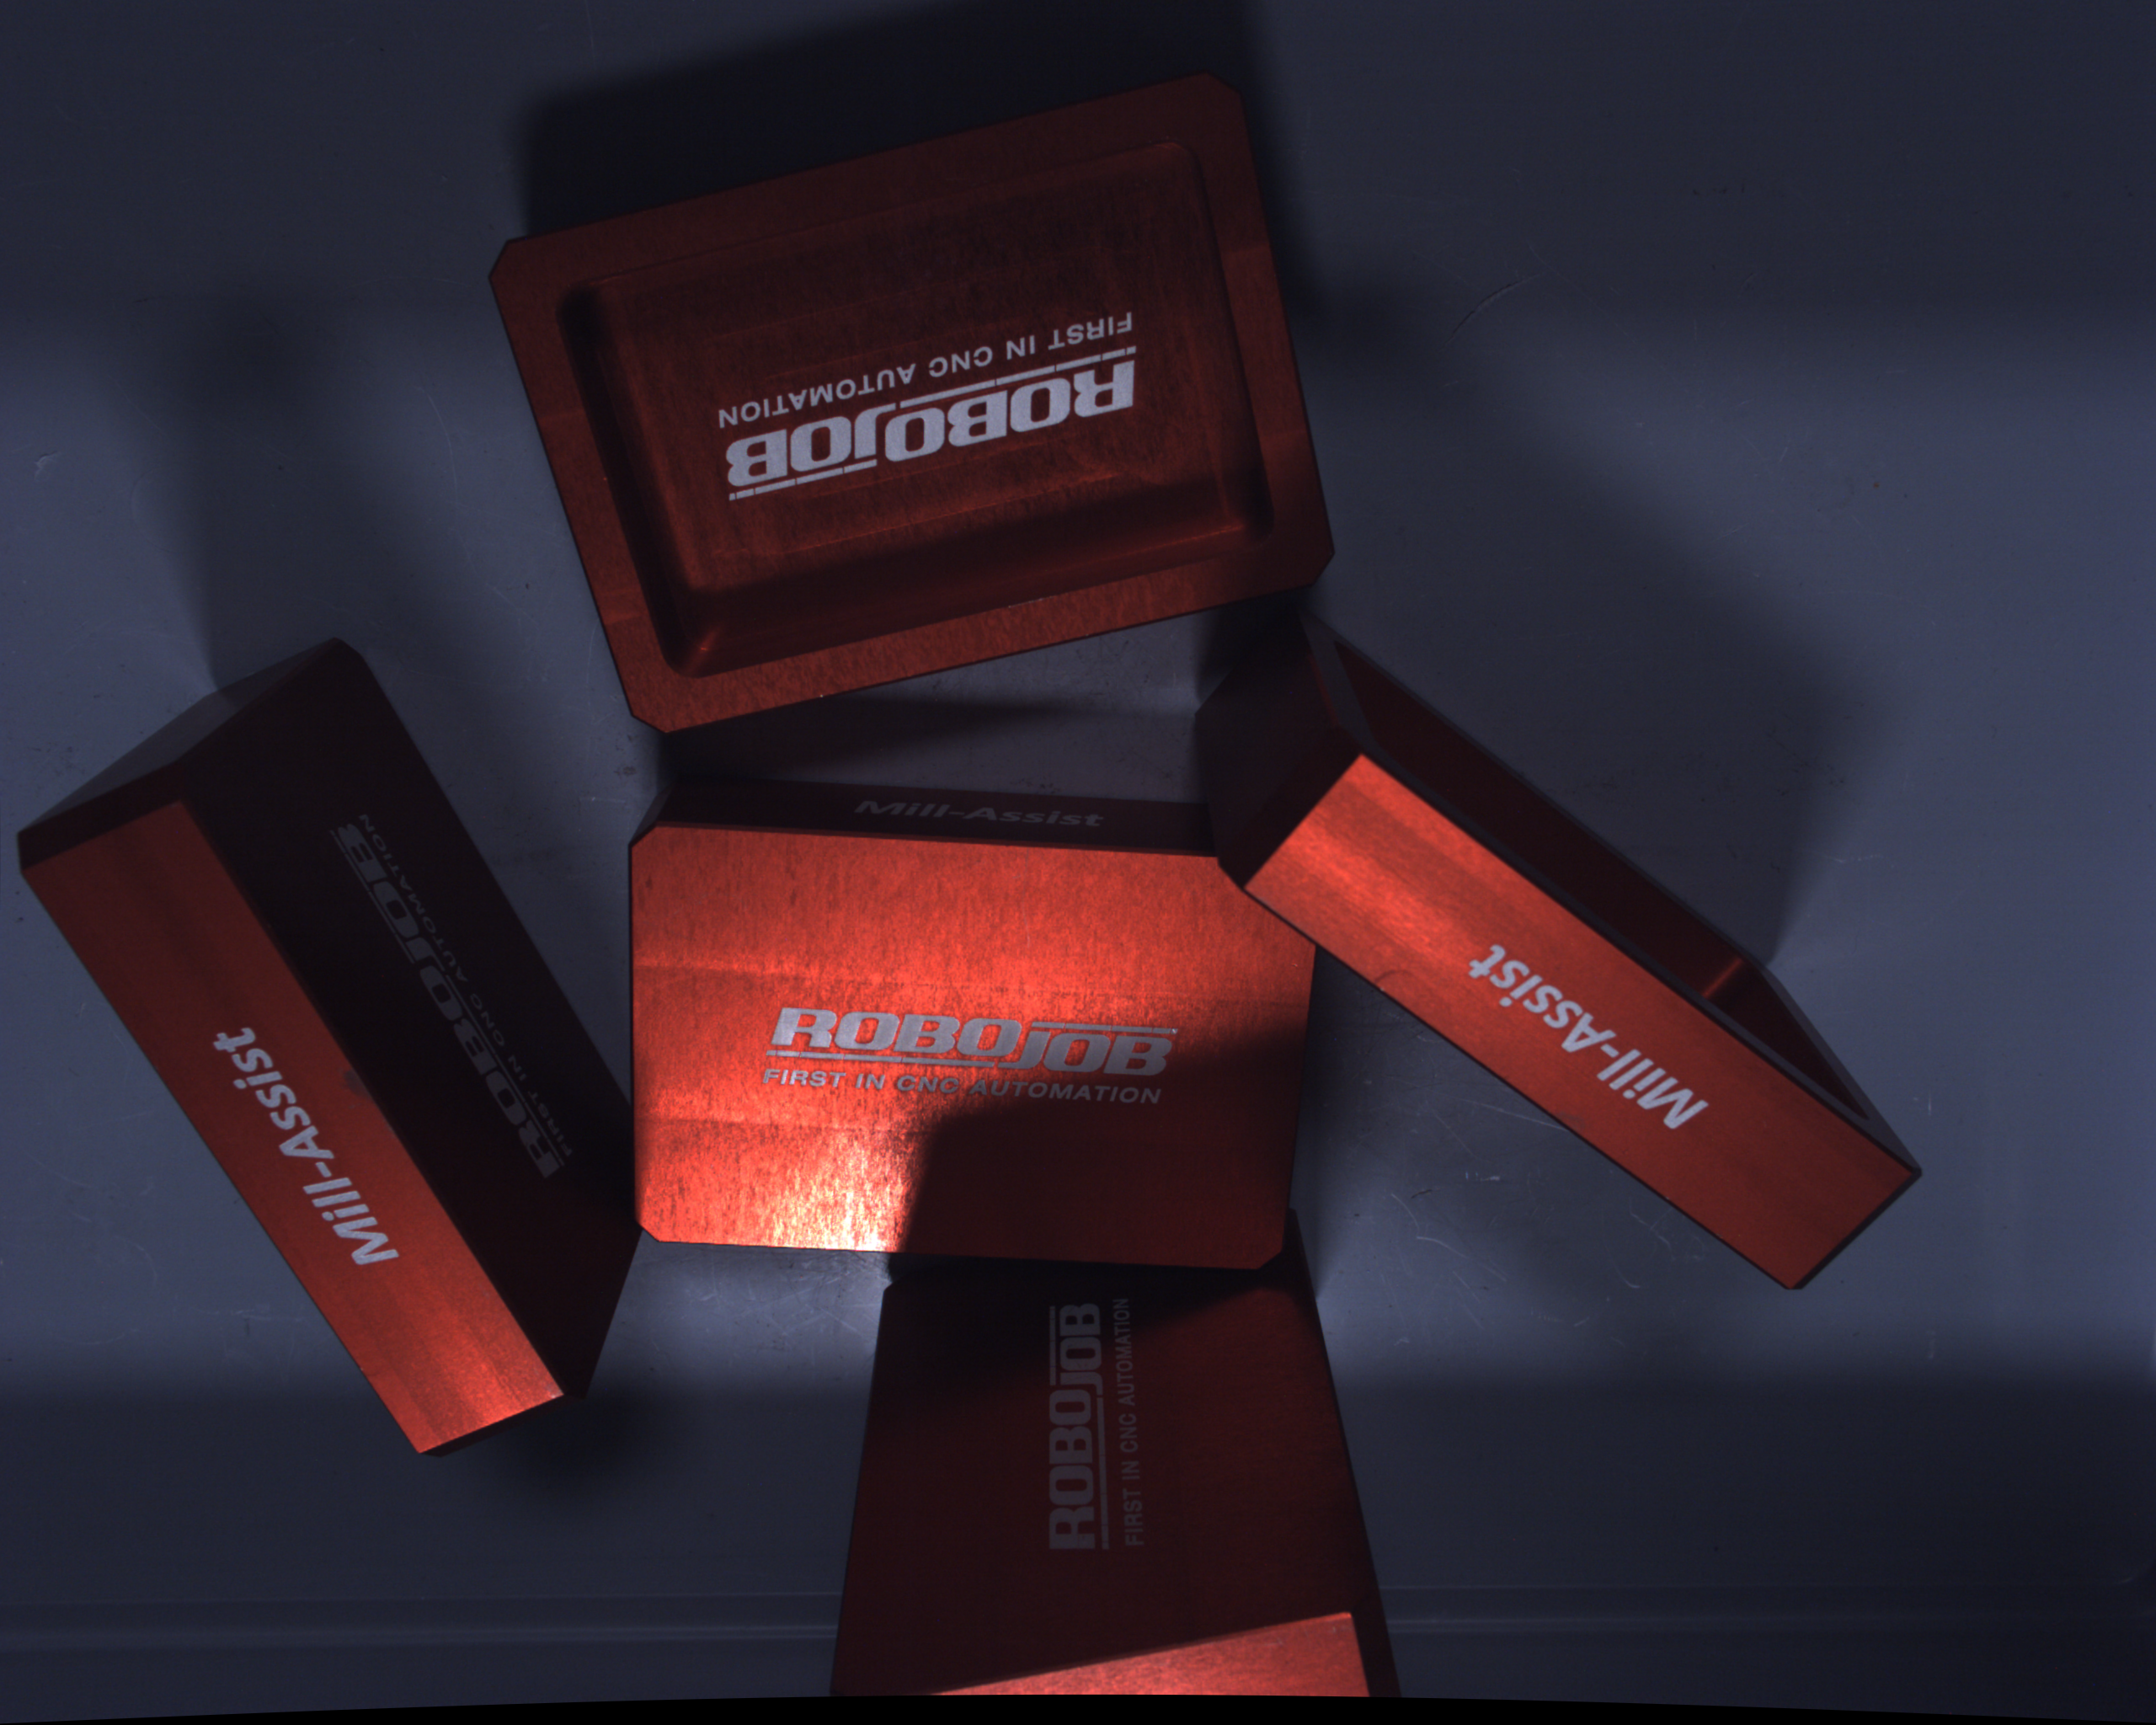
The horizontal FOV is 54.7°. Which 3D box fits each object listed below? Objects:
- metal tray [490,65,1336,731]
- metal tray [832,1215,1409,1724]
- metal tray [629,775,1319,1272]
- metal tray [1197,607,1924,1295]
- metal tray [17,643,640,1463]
[{"bbox_3d":[-0.027,-0.083,0.376,0.131,0.030,0.089,-13,110,4],"label":"metal tray"},{"bbox_3d":[0.006,0.118,0.396,0.090,0.130,0.030,-12,110,3],"label":"metal tray"},{"bbox_3d":[-0.021,0.033,0.417,0.131,0.030,0.089,3,110,-2],"label":"metal tray"},{"bbox_3d":[0.083,0.013,0.380,0.130,0.090,0.030,36,107,-13],"label":"metal tray"},{"bbox_3d":[-0.128,0.032,0.384,0.030,0.090,0.129,-24,109,7],"label":"metal tray"}]
